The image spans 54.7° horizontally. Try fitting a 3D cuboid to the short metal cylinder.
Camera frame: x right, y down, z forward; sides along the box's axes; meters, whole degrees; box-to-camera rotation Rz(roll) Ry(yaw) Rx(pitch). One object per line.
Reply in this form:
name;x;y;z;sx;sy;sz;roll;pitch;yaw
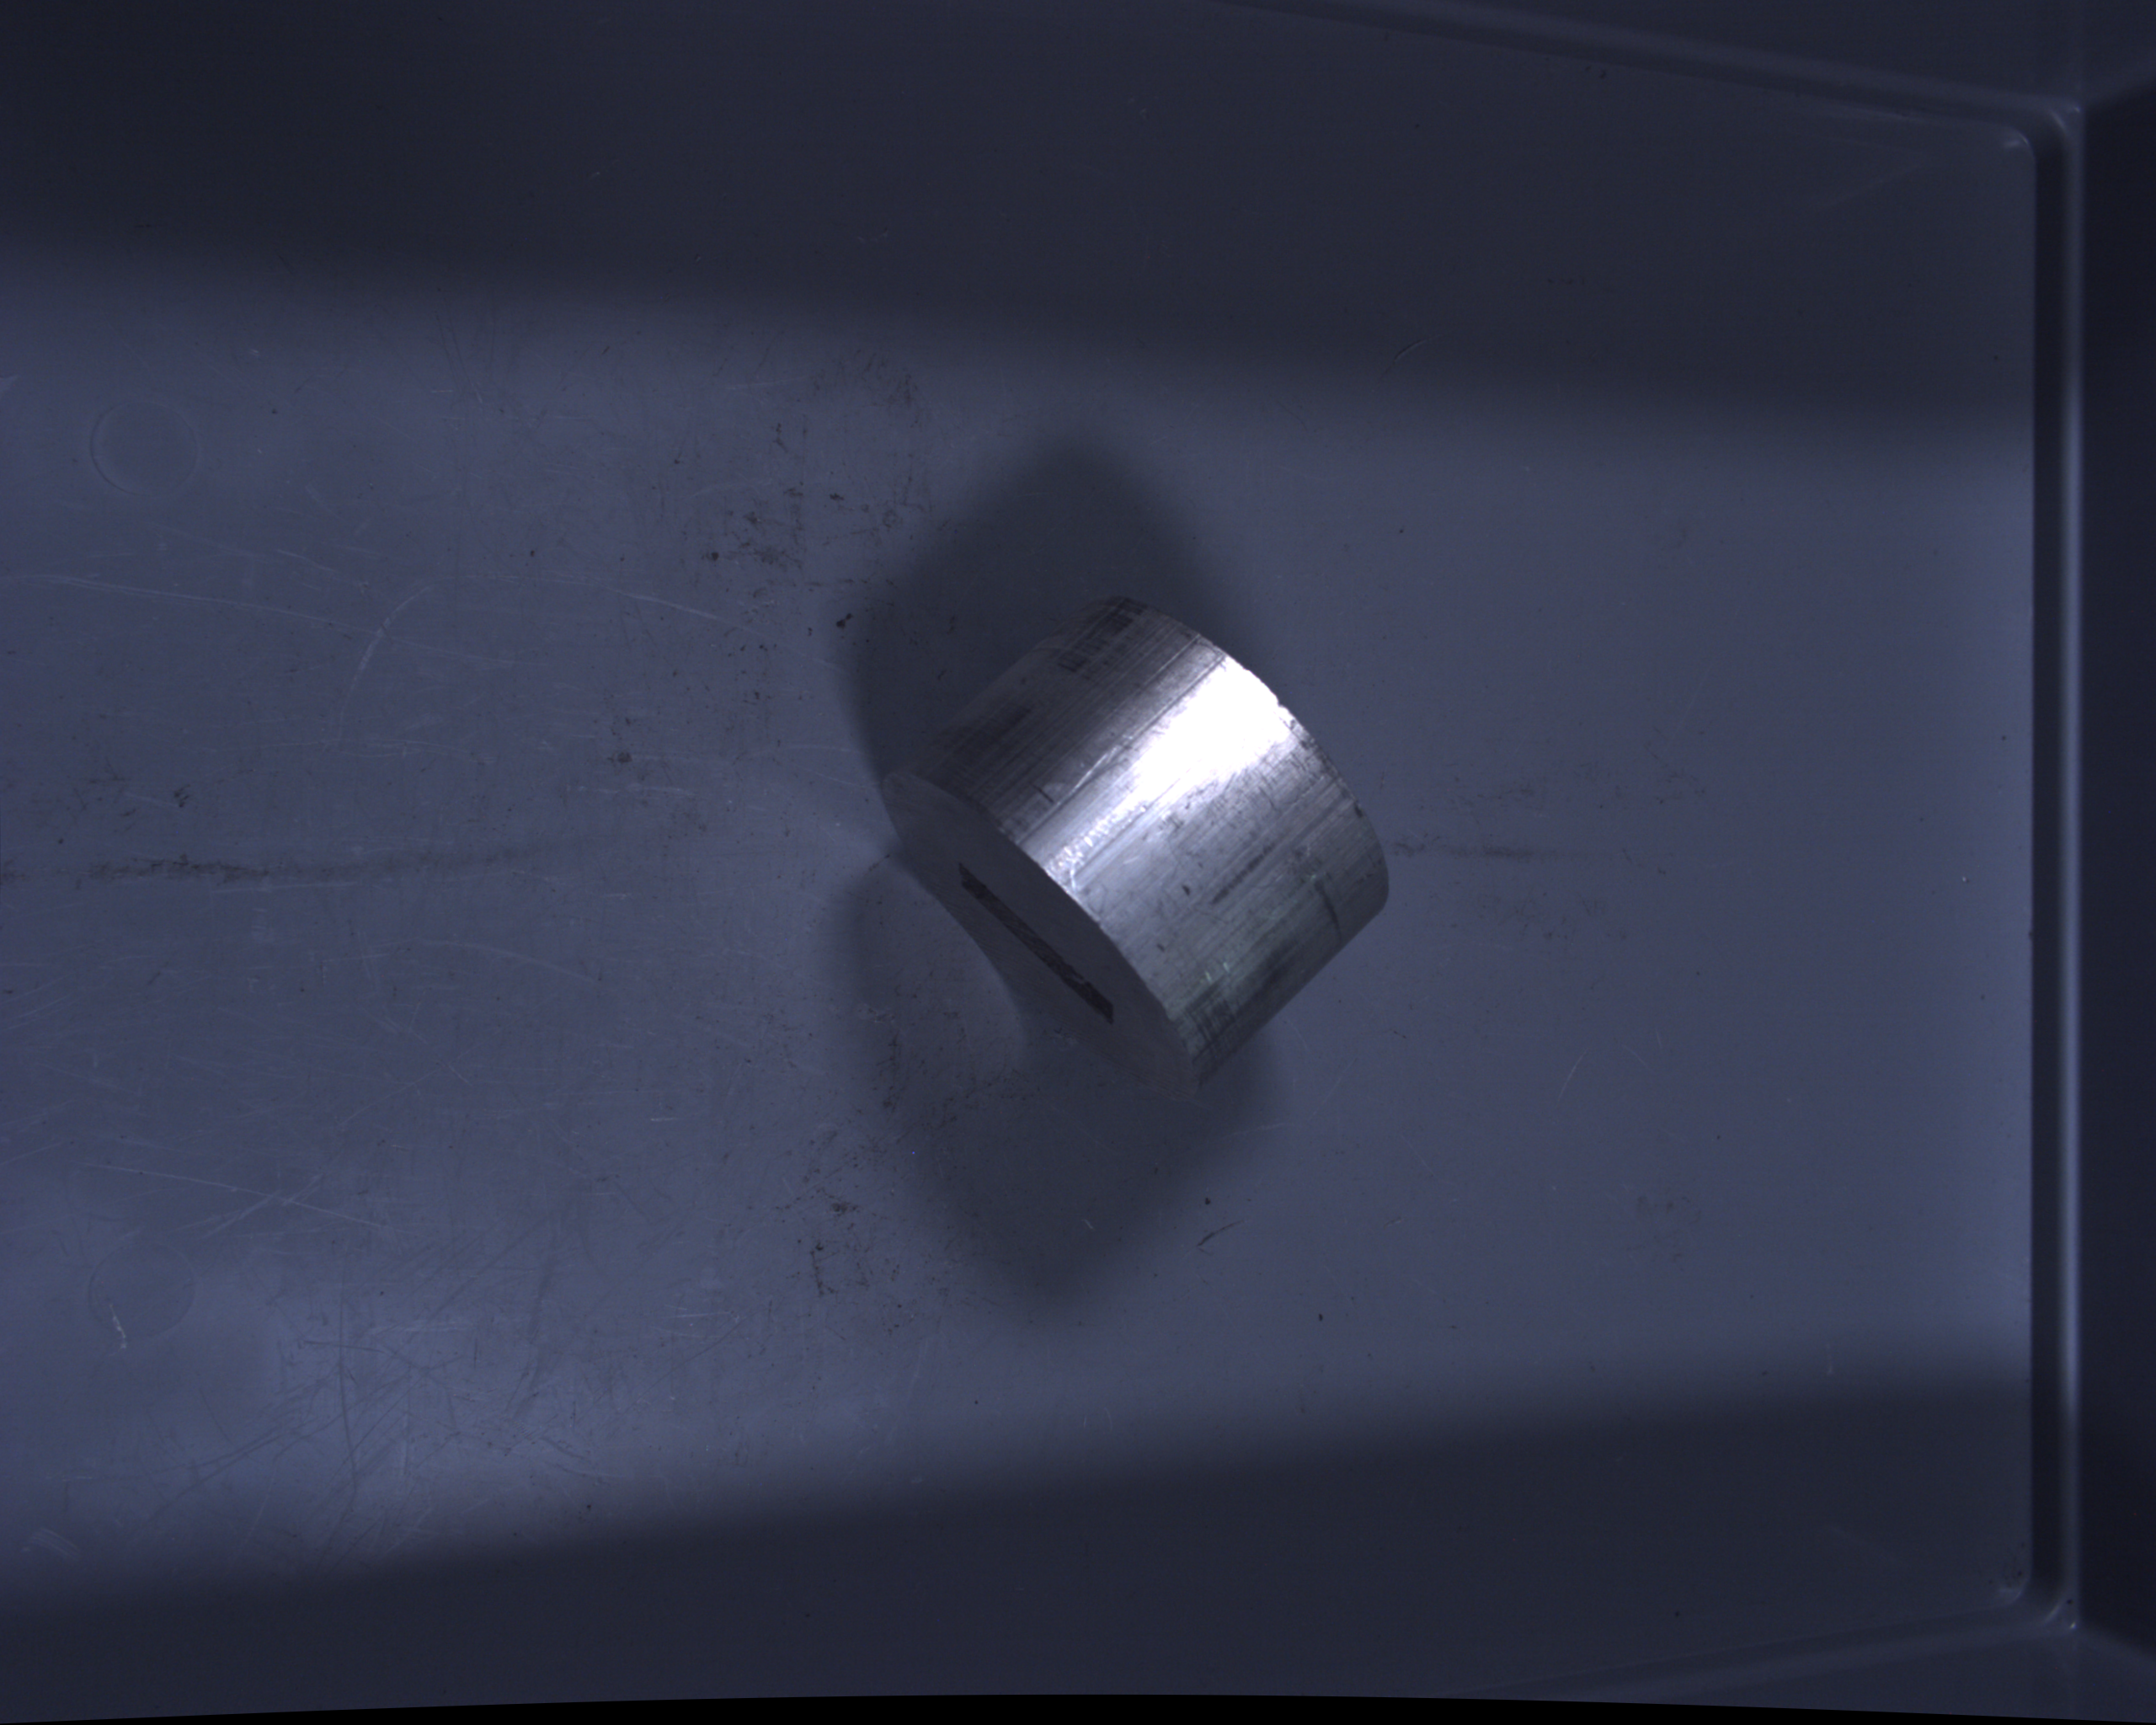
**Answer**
short metal cylinder;0.010;-0.003;0.383;0.050;0.080;0.080;-43;104;-15
